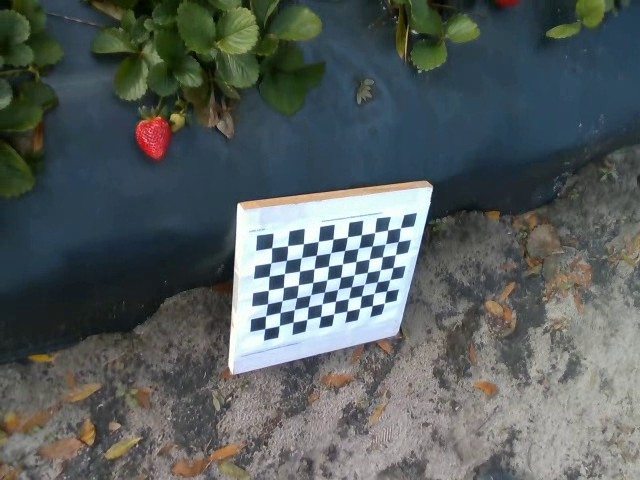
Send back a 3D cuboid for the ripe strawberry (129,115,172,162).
[{"bbox_3d":[-0.194,-0.117,0.657,0.045,0.058,0.050,-5,-17,-26],"label":"ripe strawberry"}]
